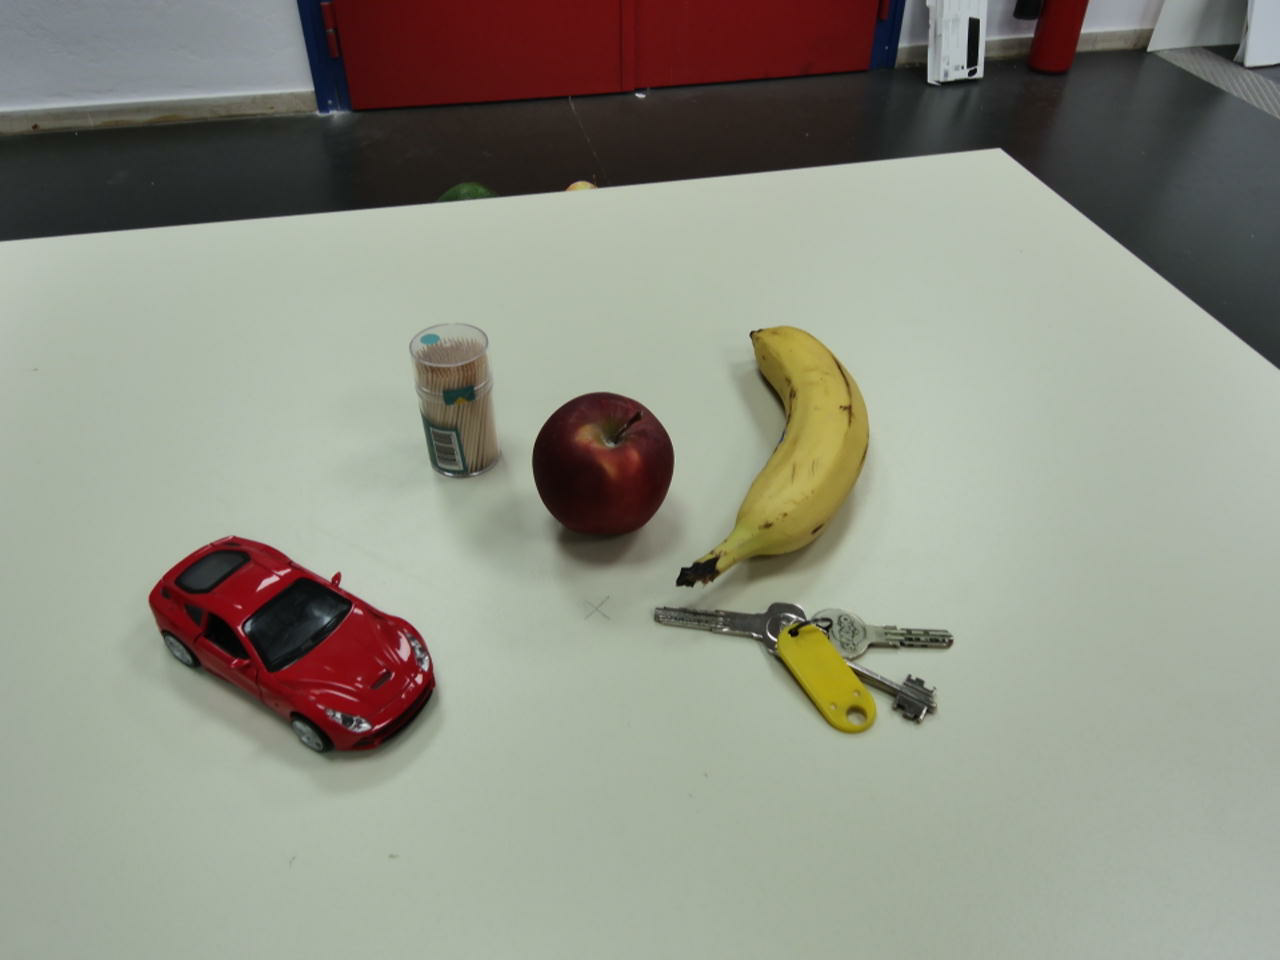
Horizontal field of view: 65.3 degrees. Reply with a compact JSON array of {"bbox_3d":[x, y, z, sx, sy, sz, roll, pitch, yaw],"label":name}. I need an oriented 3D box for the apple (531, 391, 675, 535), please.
[{"bbox_3d":[-0.018,-0.007,0.487,0.070,0.072,0.070,1,39,-1],"label":"apple"}]
